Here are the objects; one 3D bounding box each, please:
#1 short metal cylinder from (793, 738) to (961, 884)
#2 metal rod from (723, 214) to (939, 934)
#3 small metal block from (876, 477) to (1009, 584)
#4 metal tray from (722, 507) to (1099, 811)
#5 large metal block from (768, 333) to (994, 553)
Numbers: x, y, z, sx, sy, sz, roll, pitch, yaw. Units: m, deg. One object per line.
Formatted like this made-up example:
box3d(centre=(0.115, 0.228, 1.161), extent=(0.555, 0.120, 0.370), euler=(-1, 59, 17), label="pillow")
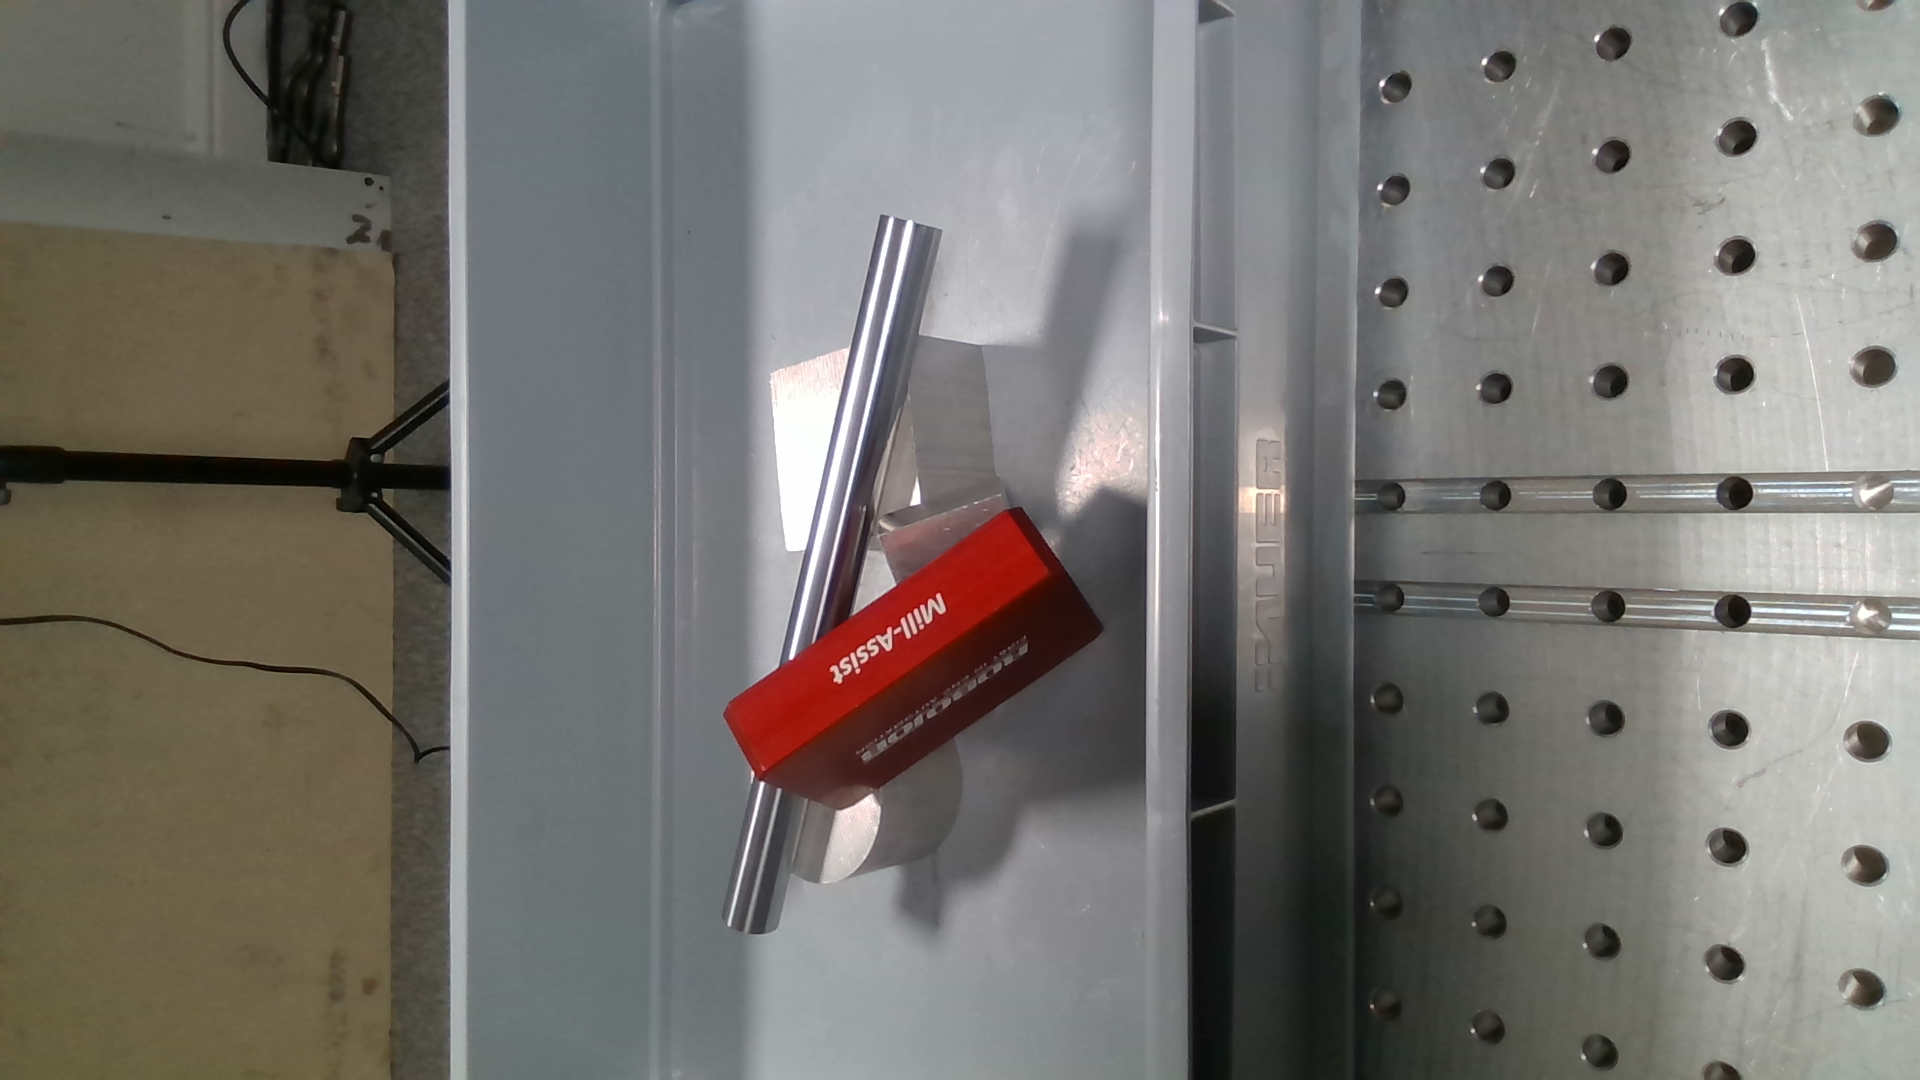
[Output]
box3d(centre=(-0.046, 0.106, 0.605), extent=(0.080, 0.050, 0.080), euler=(0, 91, 40), label="short metal cylinder")
box3d(centre=(-0.055, 0.020, 0.561), extent=(0.025, 0.025, 0.300), euler=(23, 105, 38), label="metal rod")
box3d(centre=(0.000, 0.009, 0.536), extent=(0.050, 0.025, 0.050), euler=(-18, 108, 6), label="small metal block")
box3d(centre=(-0.014, 0.049, 0.518), extent=(0.130, 0.090, 0.030), euler=(-35, 66, 3), label="metal tray")
box3d(centre=(-0.033, -0.039, 0.592), extent=(0.080, 0.050, 0.080), euler=(-10, 84, 40), label="large metal block")
